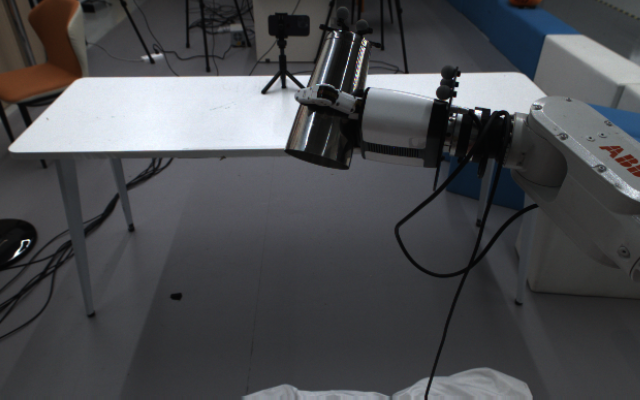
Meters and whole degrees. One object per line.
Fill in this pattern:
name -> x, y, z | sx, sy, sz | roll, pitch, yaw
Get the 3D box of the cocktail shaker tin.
cocktail shaker tin -> 0.018, -0.136, 0.658 | 0.093, 0.170, 0.093 | 15, -4, 1
